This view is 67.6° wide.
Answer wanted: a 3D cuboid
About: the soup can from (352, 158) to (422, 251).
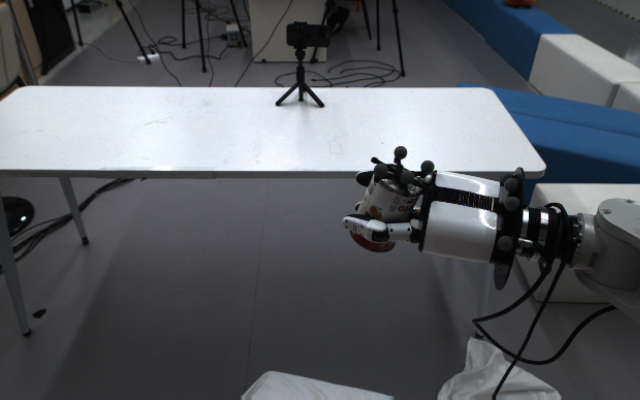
[{"bbox_3d":[0.088,0.011,0.646,0.067,0.101,0.067,14,35,-10],"label":"soup can"}]
